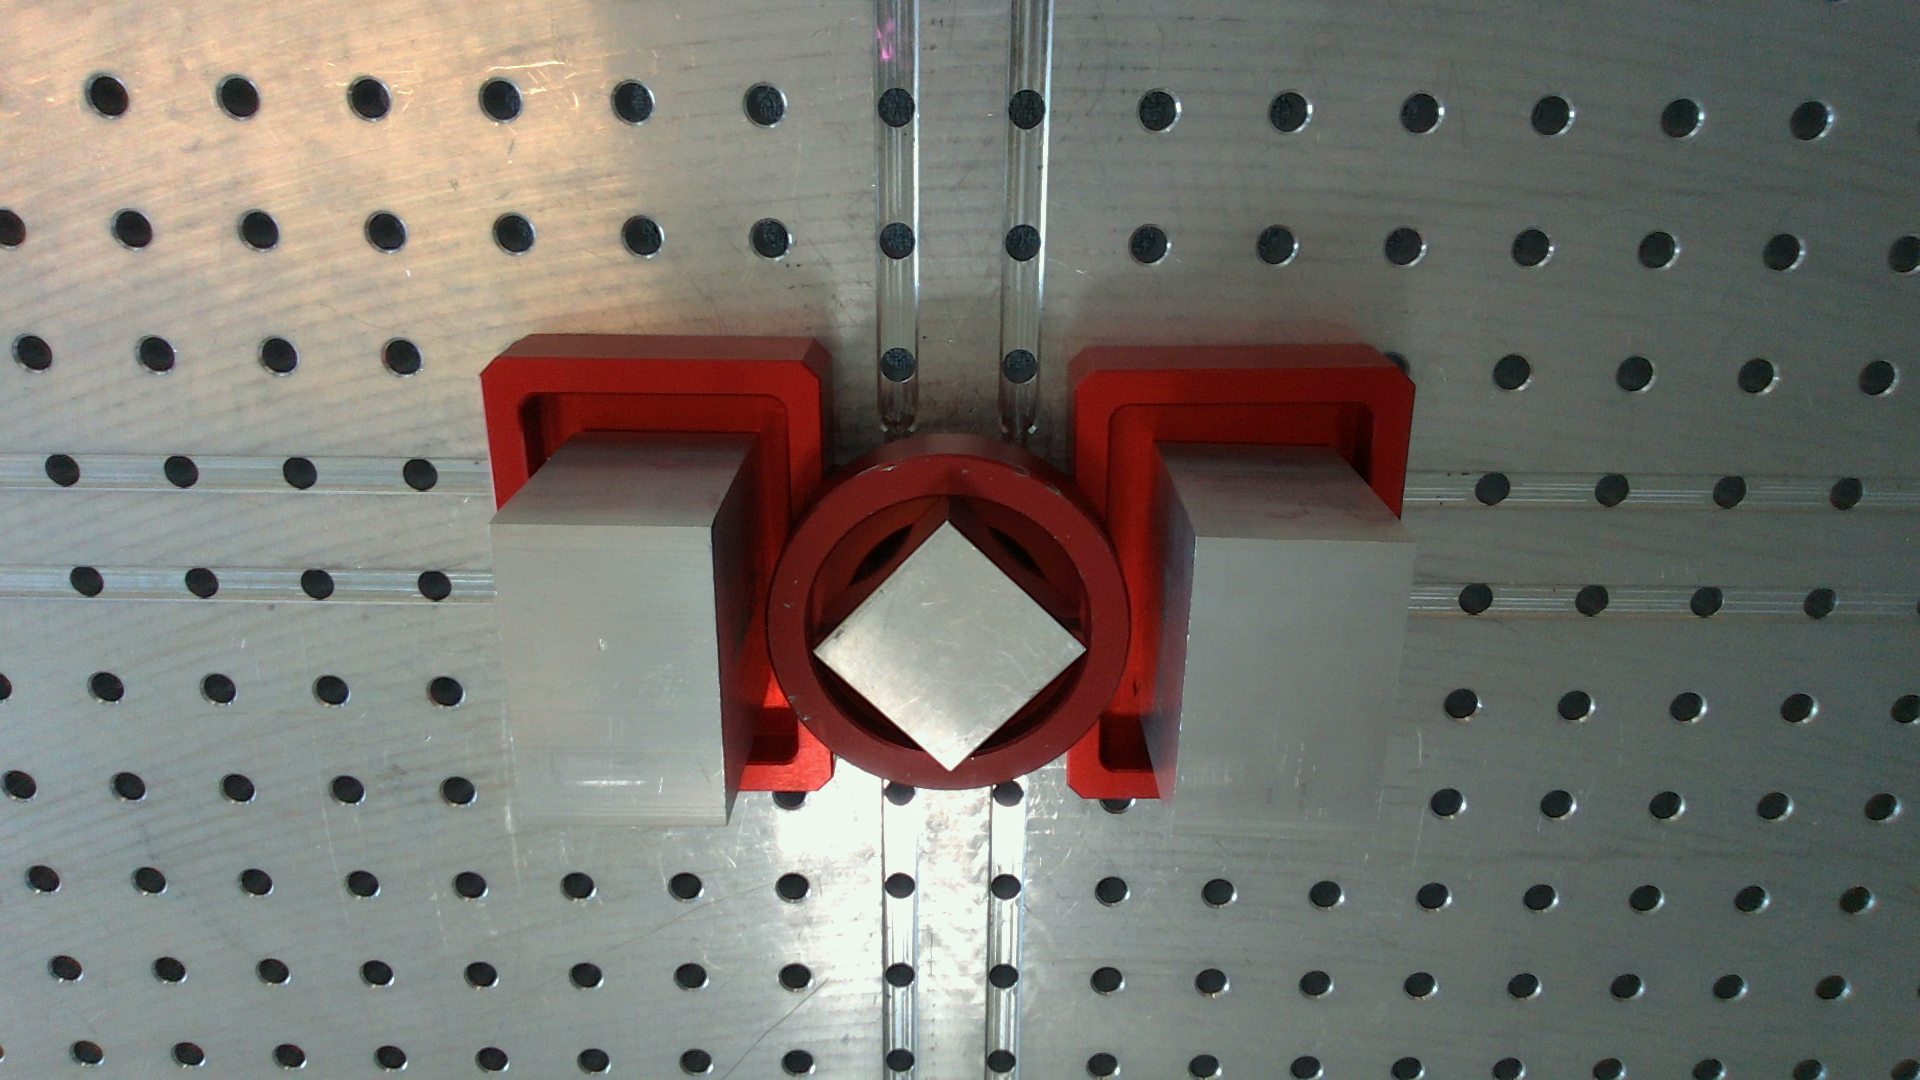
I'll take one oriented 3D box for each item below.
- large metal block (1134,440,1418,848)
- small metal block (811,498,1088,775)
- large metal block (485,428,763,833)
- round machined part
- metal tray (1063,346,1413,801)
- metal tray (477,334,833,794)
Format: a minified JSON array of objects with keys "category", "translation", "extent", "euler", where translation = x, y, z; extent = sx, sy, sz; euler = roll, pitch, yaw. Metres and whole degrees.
[{"category":"large metal block","translation":[0.078,0.024,0.362],"extent":[0.050,0.080,0.080],"euler":[1,110,0]},{"category":"small metal block","translation":[-0.003,0.024,0.362],"extent":[0.050,0.025,0.050],"euler":[43,105,-14]},{"category":"large metal block","translation":[-0.082,0.020,0.360],"extent":[0.050,0.080,0.080],"euler":[1,110,0]},{"category":"round machined part","translation":[-0.003,0.017,0.384],"extent":[0.098,0.042,0.098],"euler":[0,110,0]},{"category":"metal tray","translation":[0.075,0.011,0.397],"extent":[0.090,0.030,0.130],"euler":[0,110,0]},{"category":"metal tray","translation":[-0.083,0.008,0.396],"extent":[0.090,0.030,0.130],"euler":[0,110,0]}]
